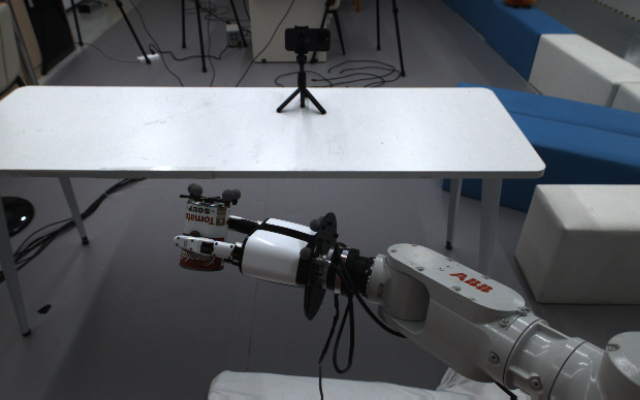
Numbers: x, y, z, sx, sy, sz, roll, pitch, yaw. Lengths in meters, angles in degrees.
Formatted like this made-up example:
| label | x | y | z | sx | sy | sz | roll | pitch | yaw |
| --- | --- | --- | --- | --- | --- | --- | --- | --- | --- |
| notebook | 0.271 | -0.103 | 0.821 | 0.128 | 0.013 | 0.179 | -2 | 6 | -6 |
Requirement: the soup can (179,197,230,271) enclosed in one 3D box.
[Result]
| label | x | y | z | sx | sy | sz | roll | pitch | yaw |
| --- | --- | --- | --- | --- | --- | --- | --- | --- | --- |
| soup can | -0.176 | 0.055 | 0.744 | 0.067 | 0.101 | 0.067 | 7 | 3 | 0 |
